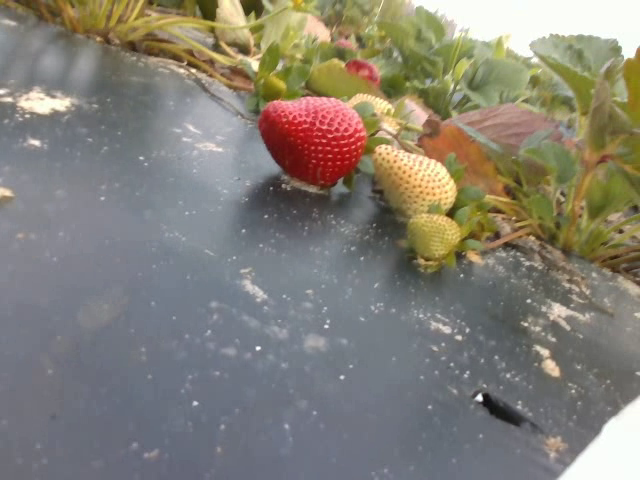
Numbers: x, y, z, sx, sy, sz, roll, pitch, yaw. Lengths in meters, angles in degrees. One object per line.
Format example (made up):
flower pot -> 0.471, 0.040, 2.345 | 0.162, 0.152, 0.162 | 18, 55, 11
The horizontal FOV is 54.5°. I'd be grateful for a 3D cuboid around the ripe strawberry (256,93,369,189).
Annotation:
ripe strawberry -> -0.005, -0.045, 0.249 | 0.050, 0.034, 0.059 | 31, 10, 23
